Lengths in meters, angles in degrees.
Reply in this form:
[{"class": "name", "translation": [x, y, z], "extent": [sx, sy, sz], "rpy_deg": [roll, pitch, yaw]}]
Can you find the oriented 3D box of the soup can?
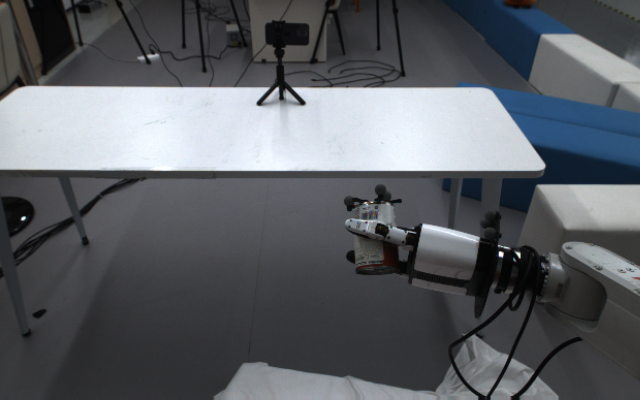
[{"class": "soup can", "translation": [0.087, 0.058, 0.738], "extent": [0.067, 0.067, 0.101], "rpy_deg": [-1, 71, -5]}]
